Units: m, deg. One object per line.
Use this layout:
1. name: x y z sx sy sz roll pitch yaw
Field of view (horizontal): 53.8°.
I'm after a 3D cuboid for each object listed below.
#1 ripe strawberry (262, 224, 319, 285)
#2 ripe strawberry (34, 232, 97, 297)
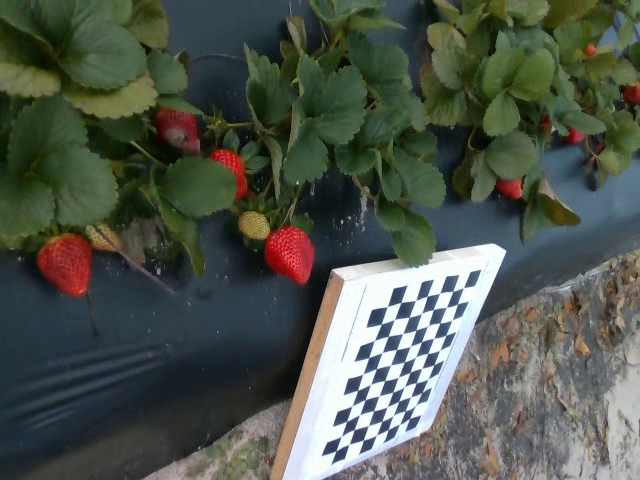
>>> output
1. ripe strawberry: -0.025 0.020 0.572 0.057 0.065 0.056 -27 -42 -3
2. ripe strawberry: -0.176 0.018 0.442 0.043 0.052 0.041 -22 -4 -26
